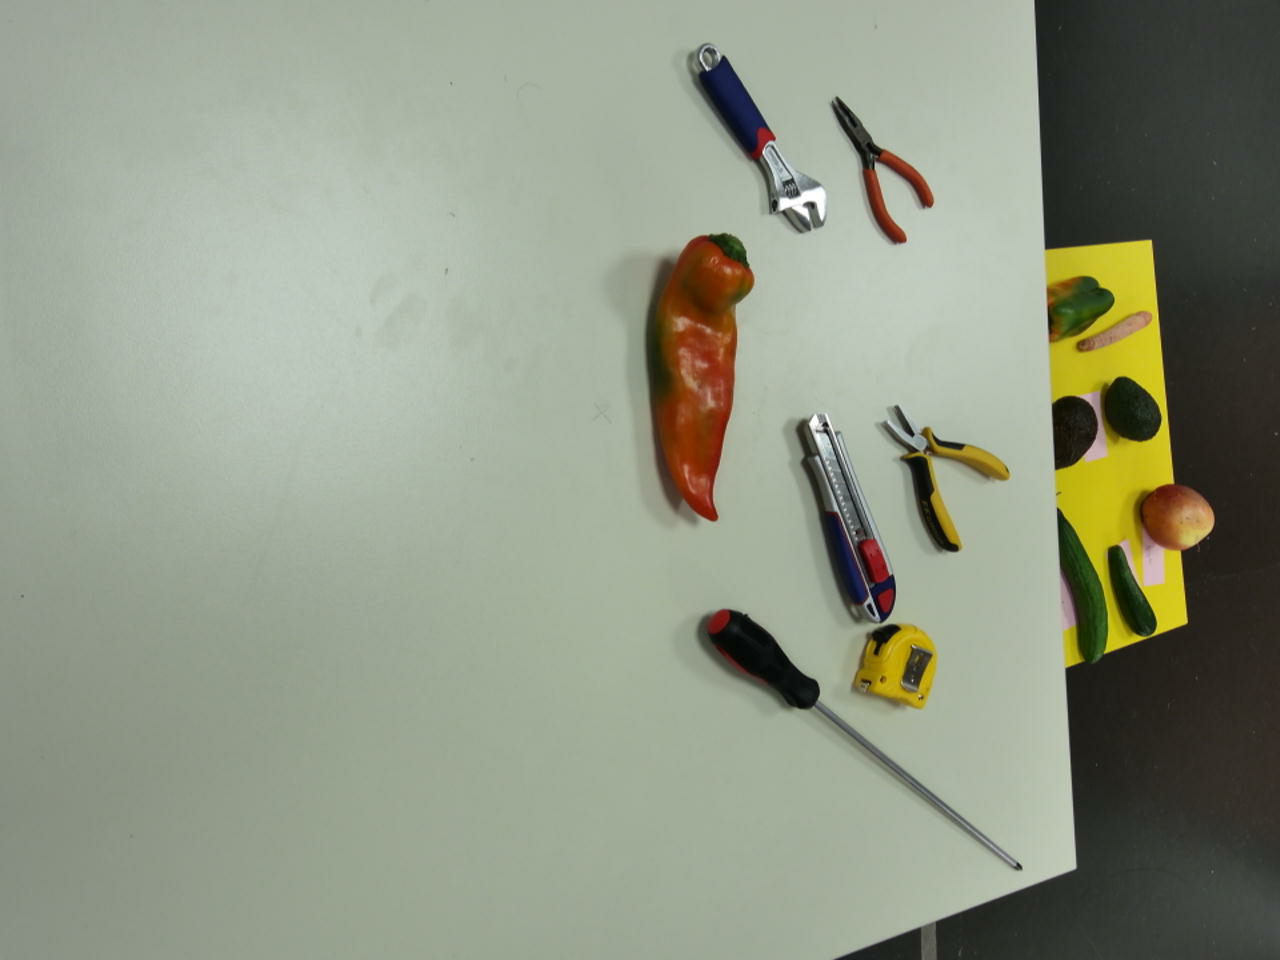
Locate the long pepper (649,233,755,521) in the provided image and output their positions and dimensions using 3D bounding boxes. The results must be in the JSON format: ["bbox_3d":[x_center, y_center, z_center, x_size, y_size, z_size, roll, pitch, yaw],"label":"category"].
[{"bbox_3d":[0.047,-0.070,0.694,0.066,0.065,0.199,1,90,-28],"label":"long pepper"}]
